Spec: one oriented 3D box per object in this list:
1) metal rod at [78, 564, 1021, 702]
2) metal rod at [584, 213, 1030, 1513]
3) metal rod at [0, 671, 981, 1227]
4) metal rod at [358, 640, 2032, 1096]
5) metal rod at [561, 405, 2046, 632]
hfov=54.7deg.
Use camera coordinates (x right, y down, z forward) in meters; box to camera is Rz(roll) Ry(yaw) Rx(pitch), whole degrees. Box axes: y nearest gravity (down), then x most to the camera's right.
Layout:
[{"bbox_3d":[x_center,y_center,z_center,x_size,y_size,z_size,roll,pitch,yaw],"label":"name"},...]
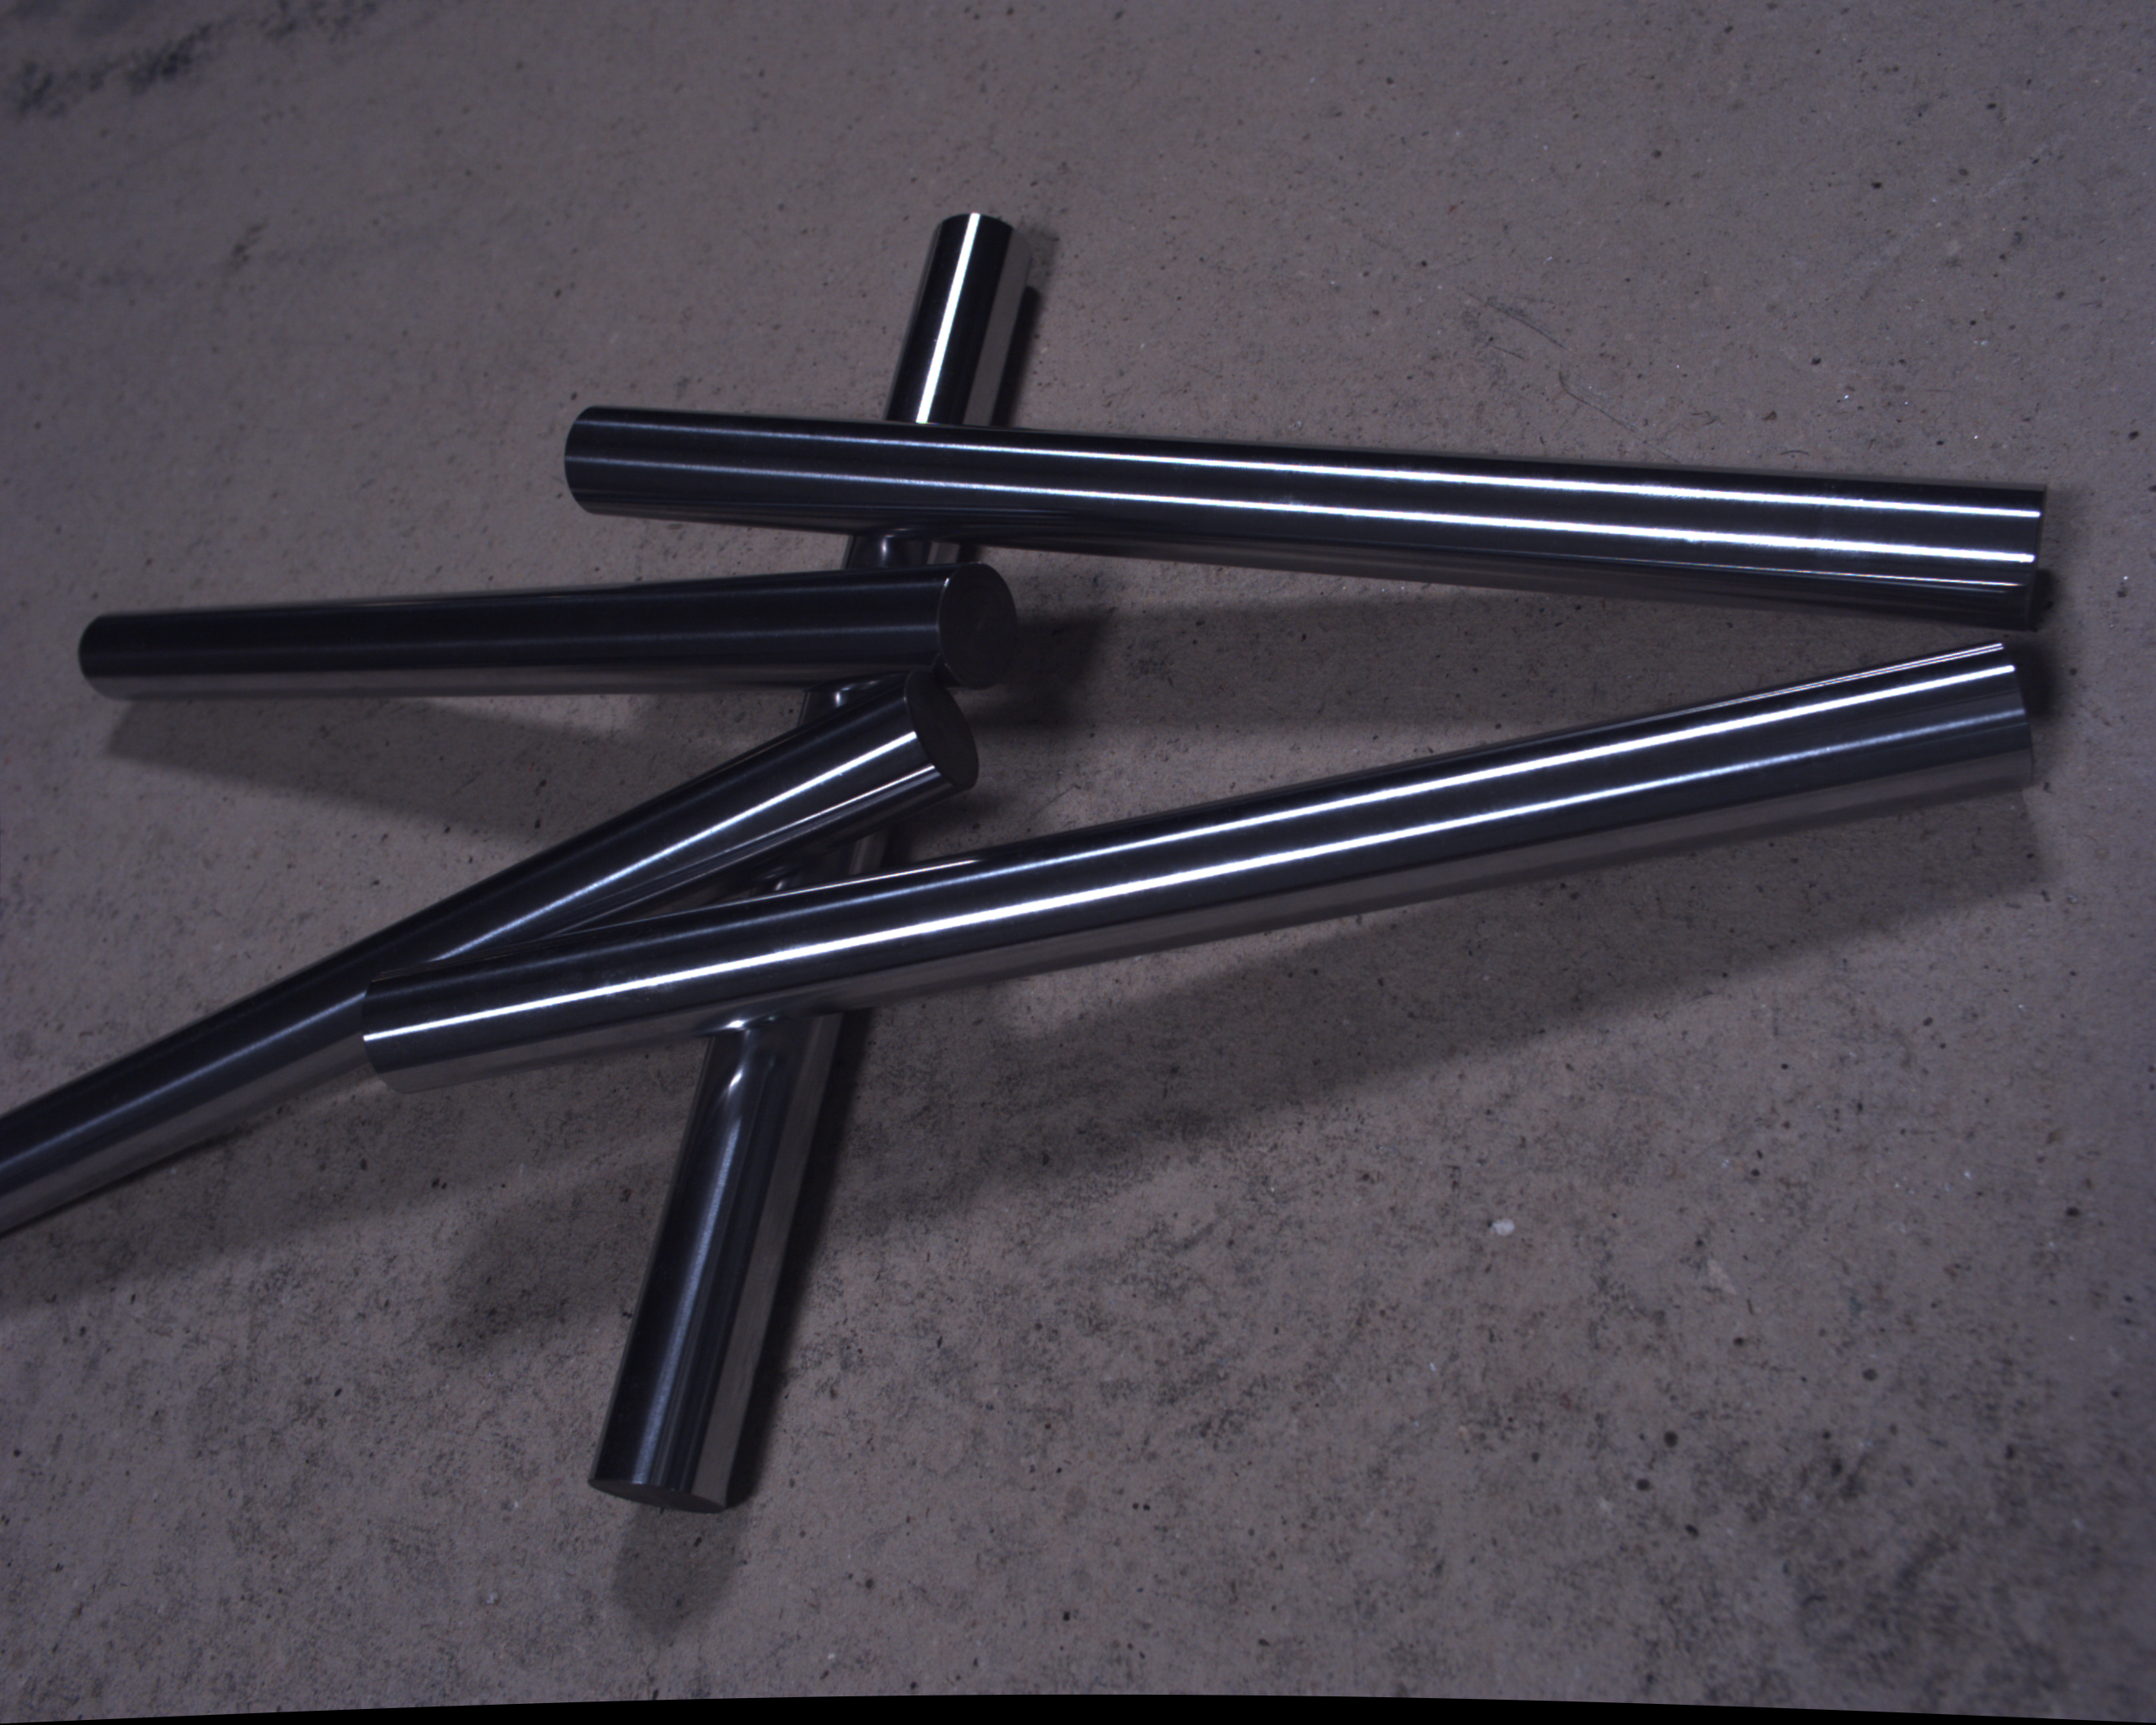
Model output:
[{"bbox_3d":[-0.142,-0.051,0.491,0.300,0.025,0.025,3,63,35],"label":"metal rod"},{"bbox_3d":[-0.050,-0.017,0.441,0.025,0.025,0.299,-3,60,26],"label":"metal rod"},{"bbox_3d":[-0.155,0.031,0.448,0.300,0.025,0.025,-23,53,20],"label":"metal rod"},{"bbox_3d":[0.009,0.005,0.376,0.301,0.025,0.025,-11,57,13],"label":"metal rod"},{"bbox_3d":[0.026,-0.071,0.413,0.301,0.025,0.025,8,66,24],"label":"metal rod"}]
